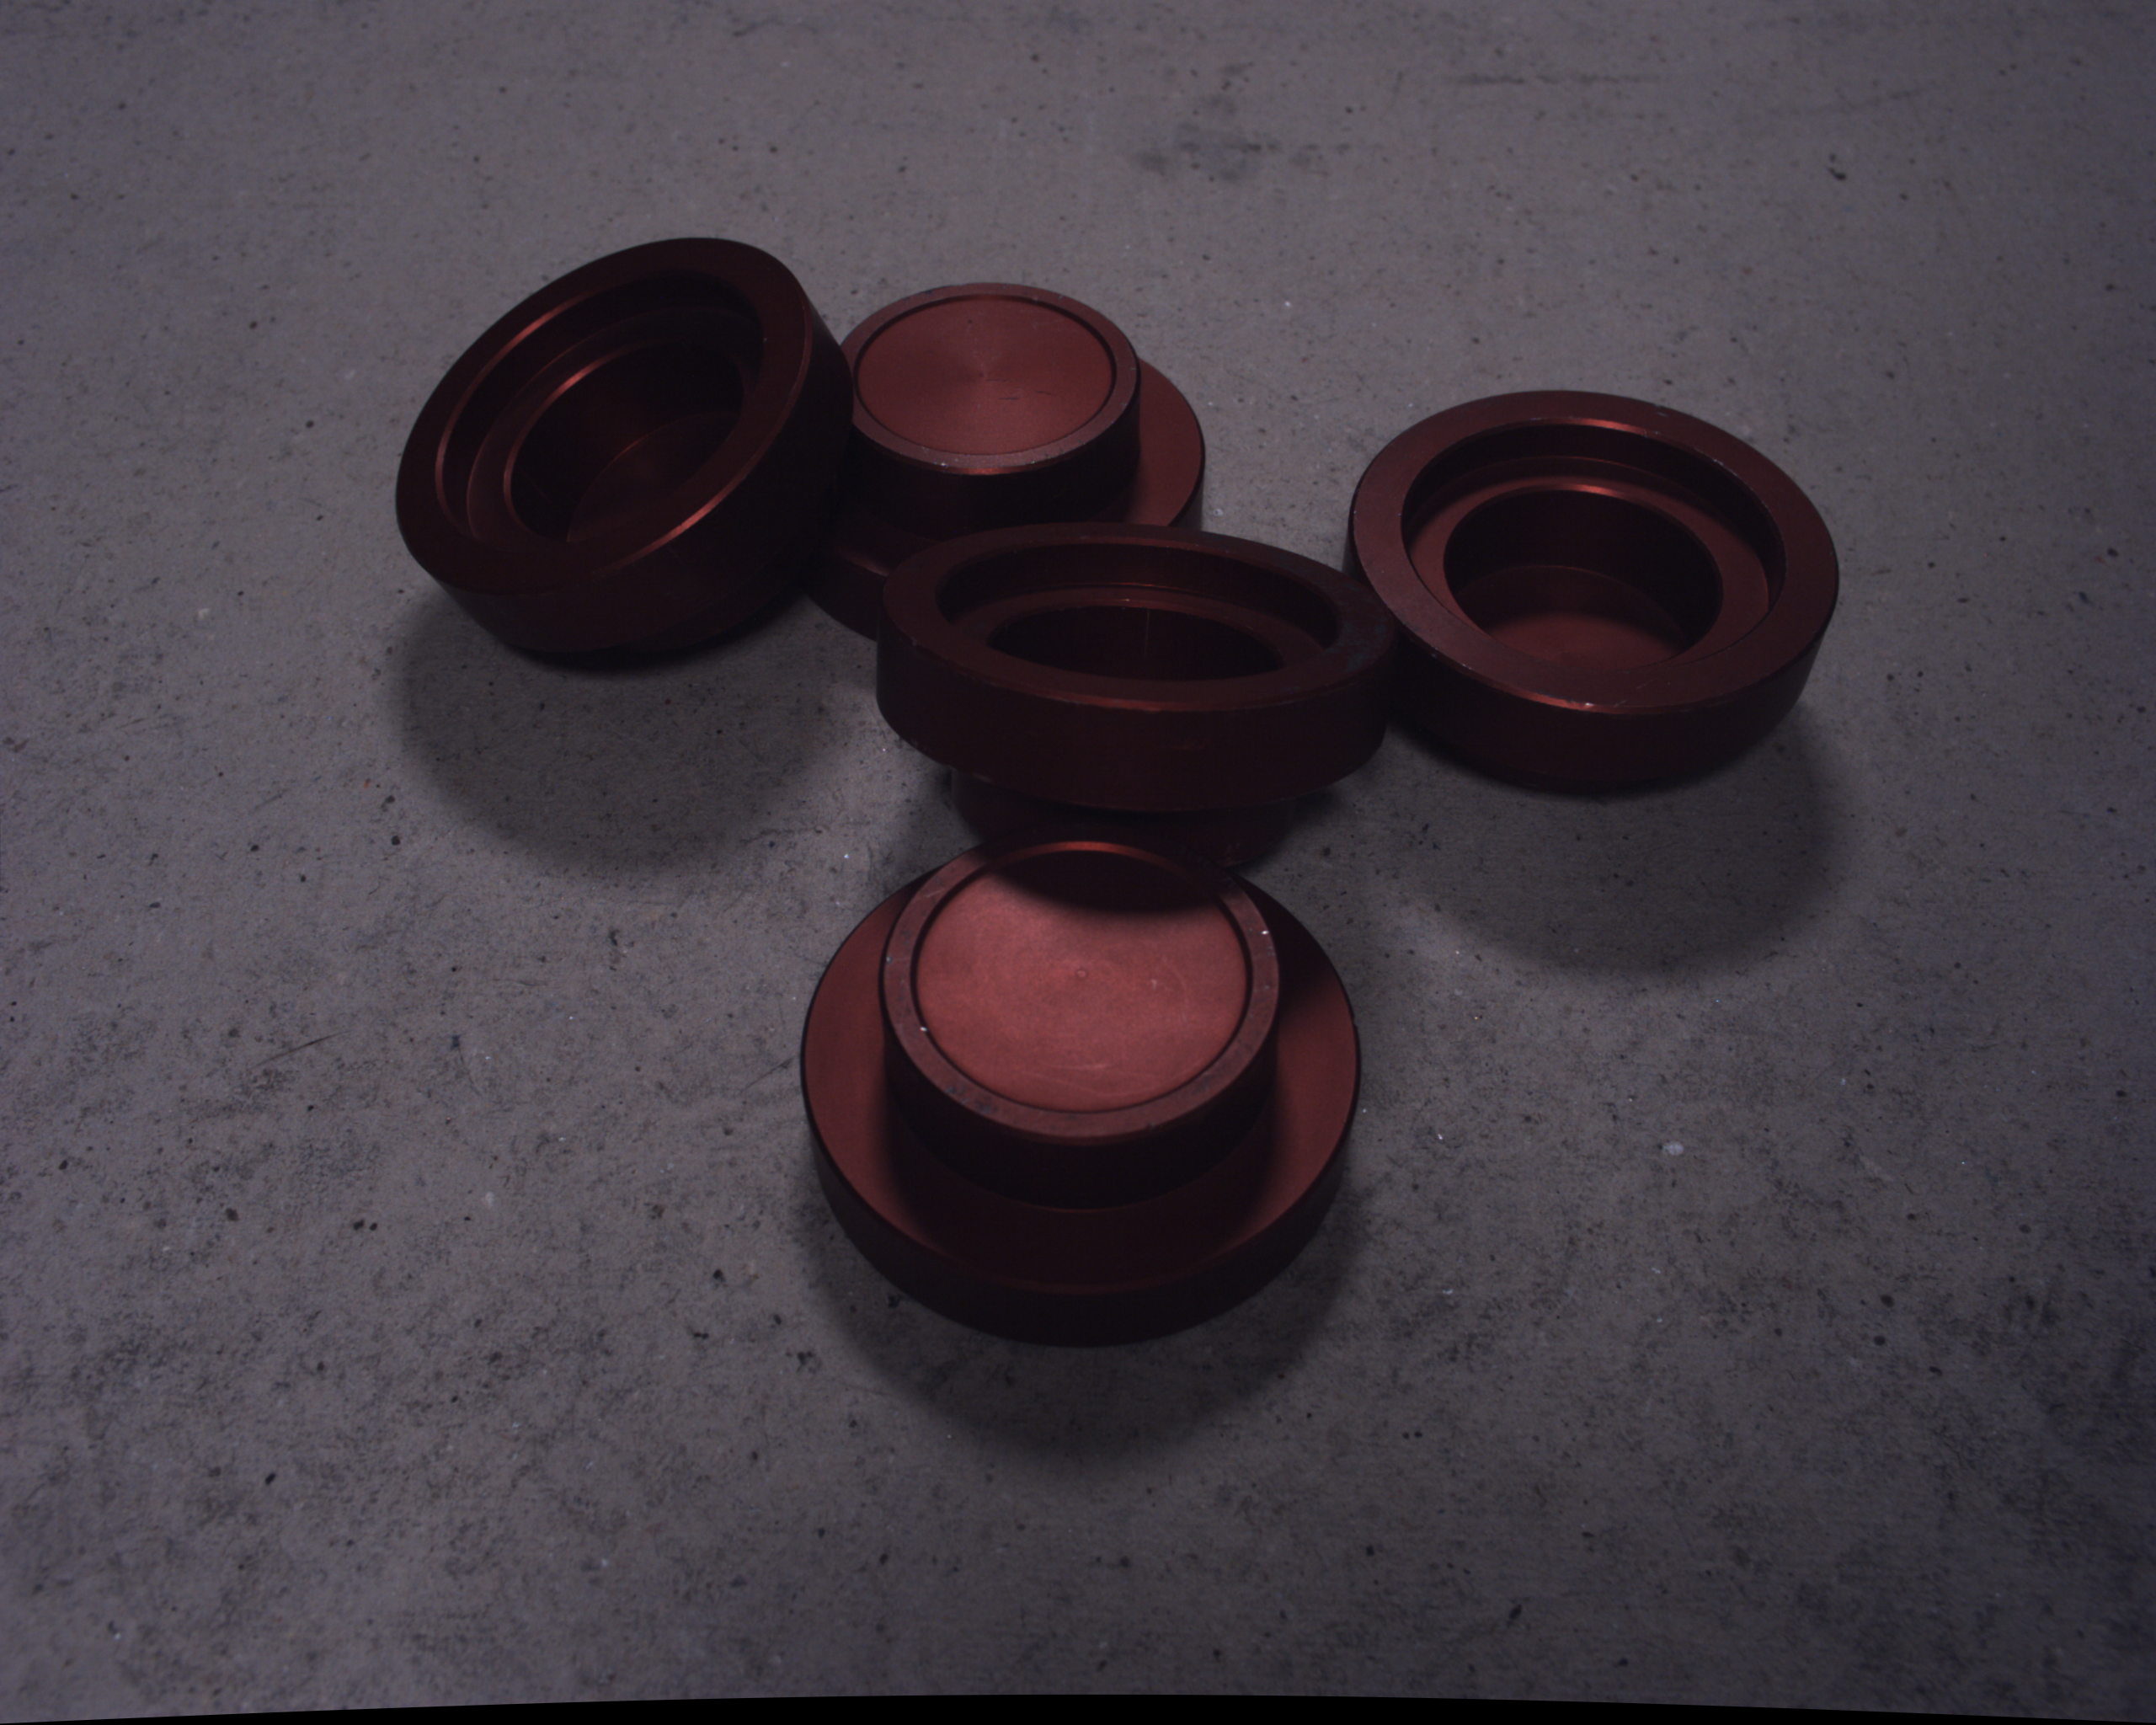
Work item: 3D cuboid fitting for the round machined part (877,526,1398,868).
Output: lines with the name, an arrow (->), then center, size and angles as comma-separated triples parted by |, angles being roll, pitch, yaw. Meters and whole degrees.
round machined part -> 0.011, -0.030, 0.406 | 0.099, 0.042, 0.098 | 2, 27, -1

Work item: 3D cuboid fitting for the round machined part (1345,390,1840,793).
round machined part -> 0.105, -0.053, 0.439 | 0.099, 0.042, 0.098 | 0, 50, 0

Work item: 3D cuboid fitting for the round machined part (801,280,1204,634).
round machined part -> -0.021, -0.095, 0.472 | 0.099, 0.042, 0.098 | 0, 50, 0

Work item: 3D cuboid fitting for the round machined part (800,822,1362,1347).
round machined part -> 0.001, 0.031, 0.367 | 0.099, 0.042, 0.098 | 0, 50, 0

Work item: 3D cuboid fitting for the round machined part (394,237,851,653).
round machined part -> -0.093, -0.085, 0.450 | 0.098, 0.042, 0.098 | -11, 56, 17
